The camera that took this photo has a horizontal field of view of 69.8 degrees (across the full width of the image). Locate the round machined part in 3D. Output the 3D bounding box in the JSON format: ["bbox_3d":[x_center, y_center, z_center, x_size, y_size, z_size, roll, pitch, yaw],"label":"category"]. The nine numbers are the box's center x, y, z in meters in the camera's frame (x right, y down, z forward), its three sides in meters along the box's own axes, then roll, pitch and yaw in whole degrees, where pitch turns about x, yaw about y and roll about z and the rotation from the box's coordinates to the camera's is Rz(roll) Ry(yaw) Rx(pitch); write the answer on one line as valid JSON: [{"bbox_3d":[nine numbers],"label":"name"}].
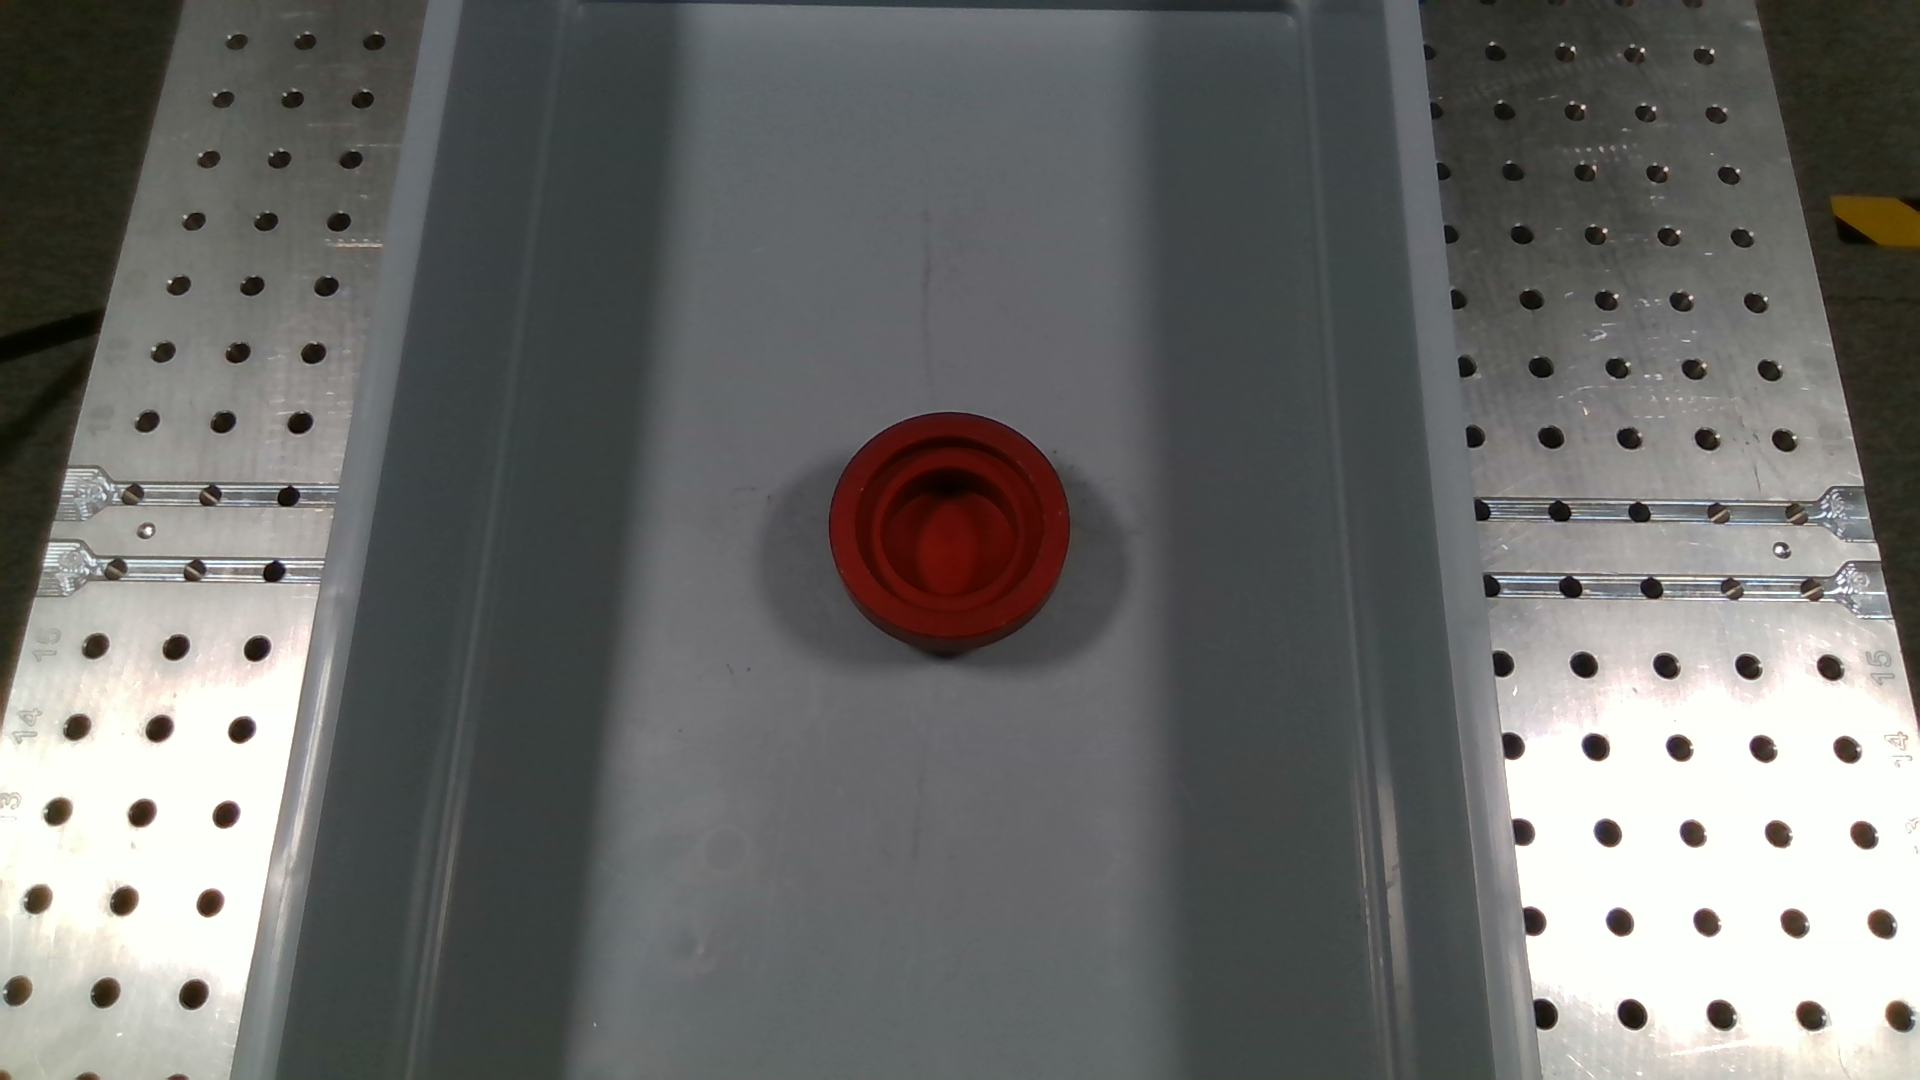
[{"bbox_3d":[-0.005,-0.001,0.576,0.098,0.042,0.098,0,70,0],"label":"round machined part"}]
